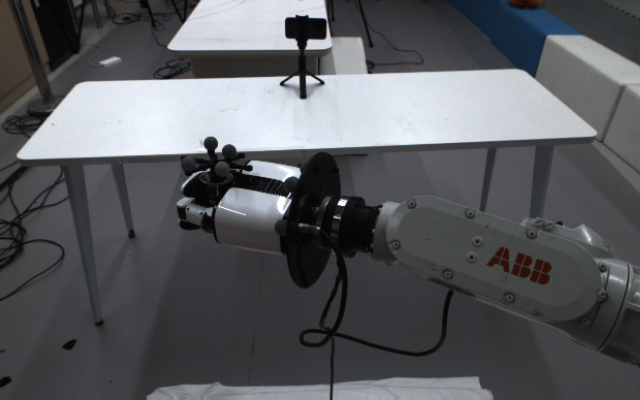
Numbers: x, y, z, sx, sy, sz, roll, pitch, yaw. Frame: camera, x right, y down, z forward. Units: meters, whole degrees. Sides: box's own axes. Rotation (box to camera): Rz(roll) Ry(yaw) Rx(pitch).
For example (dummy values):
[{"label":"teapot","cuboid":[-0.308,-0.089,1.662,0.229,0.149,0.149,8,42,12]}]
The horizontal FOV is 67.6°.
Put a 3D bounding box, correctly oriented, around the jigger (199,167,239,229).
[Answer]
[{"label":"jigger","cuboid":[-0.129,0.002,0.603,0.043,0.071,0.043,5,26,-3]}]
